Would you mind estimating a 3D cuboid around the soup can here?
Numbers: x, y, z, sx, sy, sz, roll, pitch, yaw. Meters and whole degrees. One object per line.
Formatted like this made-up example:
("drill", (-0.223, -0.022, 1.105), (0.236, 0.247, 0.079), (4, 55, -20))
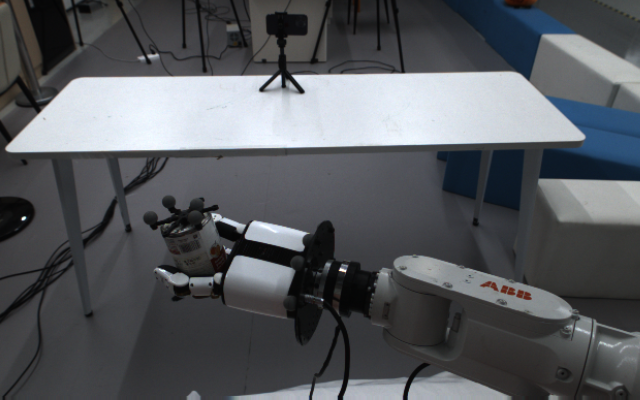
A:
("soup can", (-0.158, 0.070, 0.636), (0.067, 0.101, 0.067), (-11, 27, 6))
